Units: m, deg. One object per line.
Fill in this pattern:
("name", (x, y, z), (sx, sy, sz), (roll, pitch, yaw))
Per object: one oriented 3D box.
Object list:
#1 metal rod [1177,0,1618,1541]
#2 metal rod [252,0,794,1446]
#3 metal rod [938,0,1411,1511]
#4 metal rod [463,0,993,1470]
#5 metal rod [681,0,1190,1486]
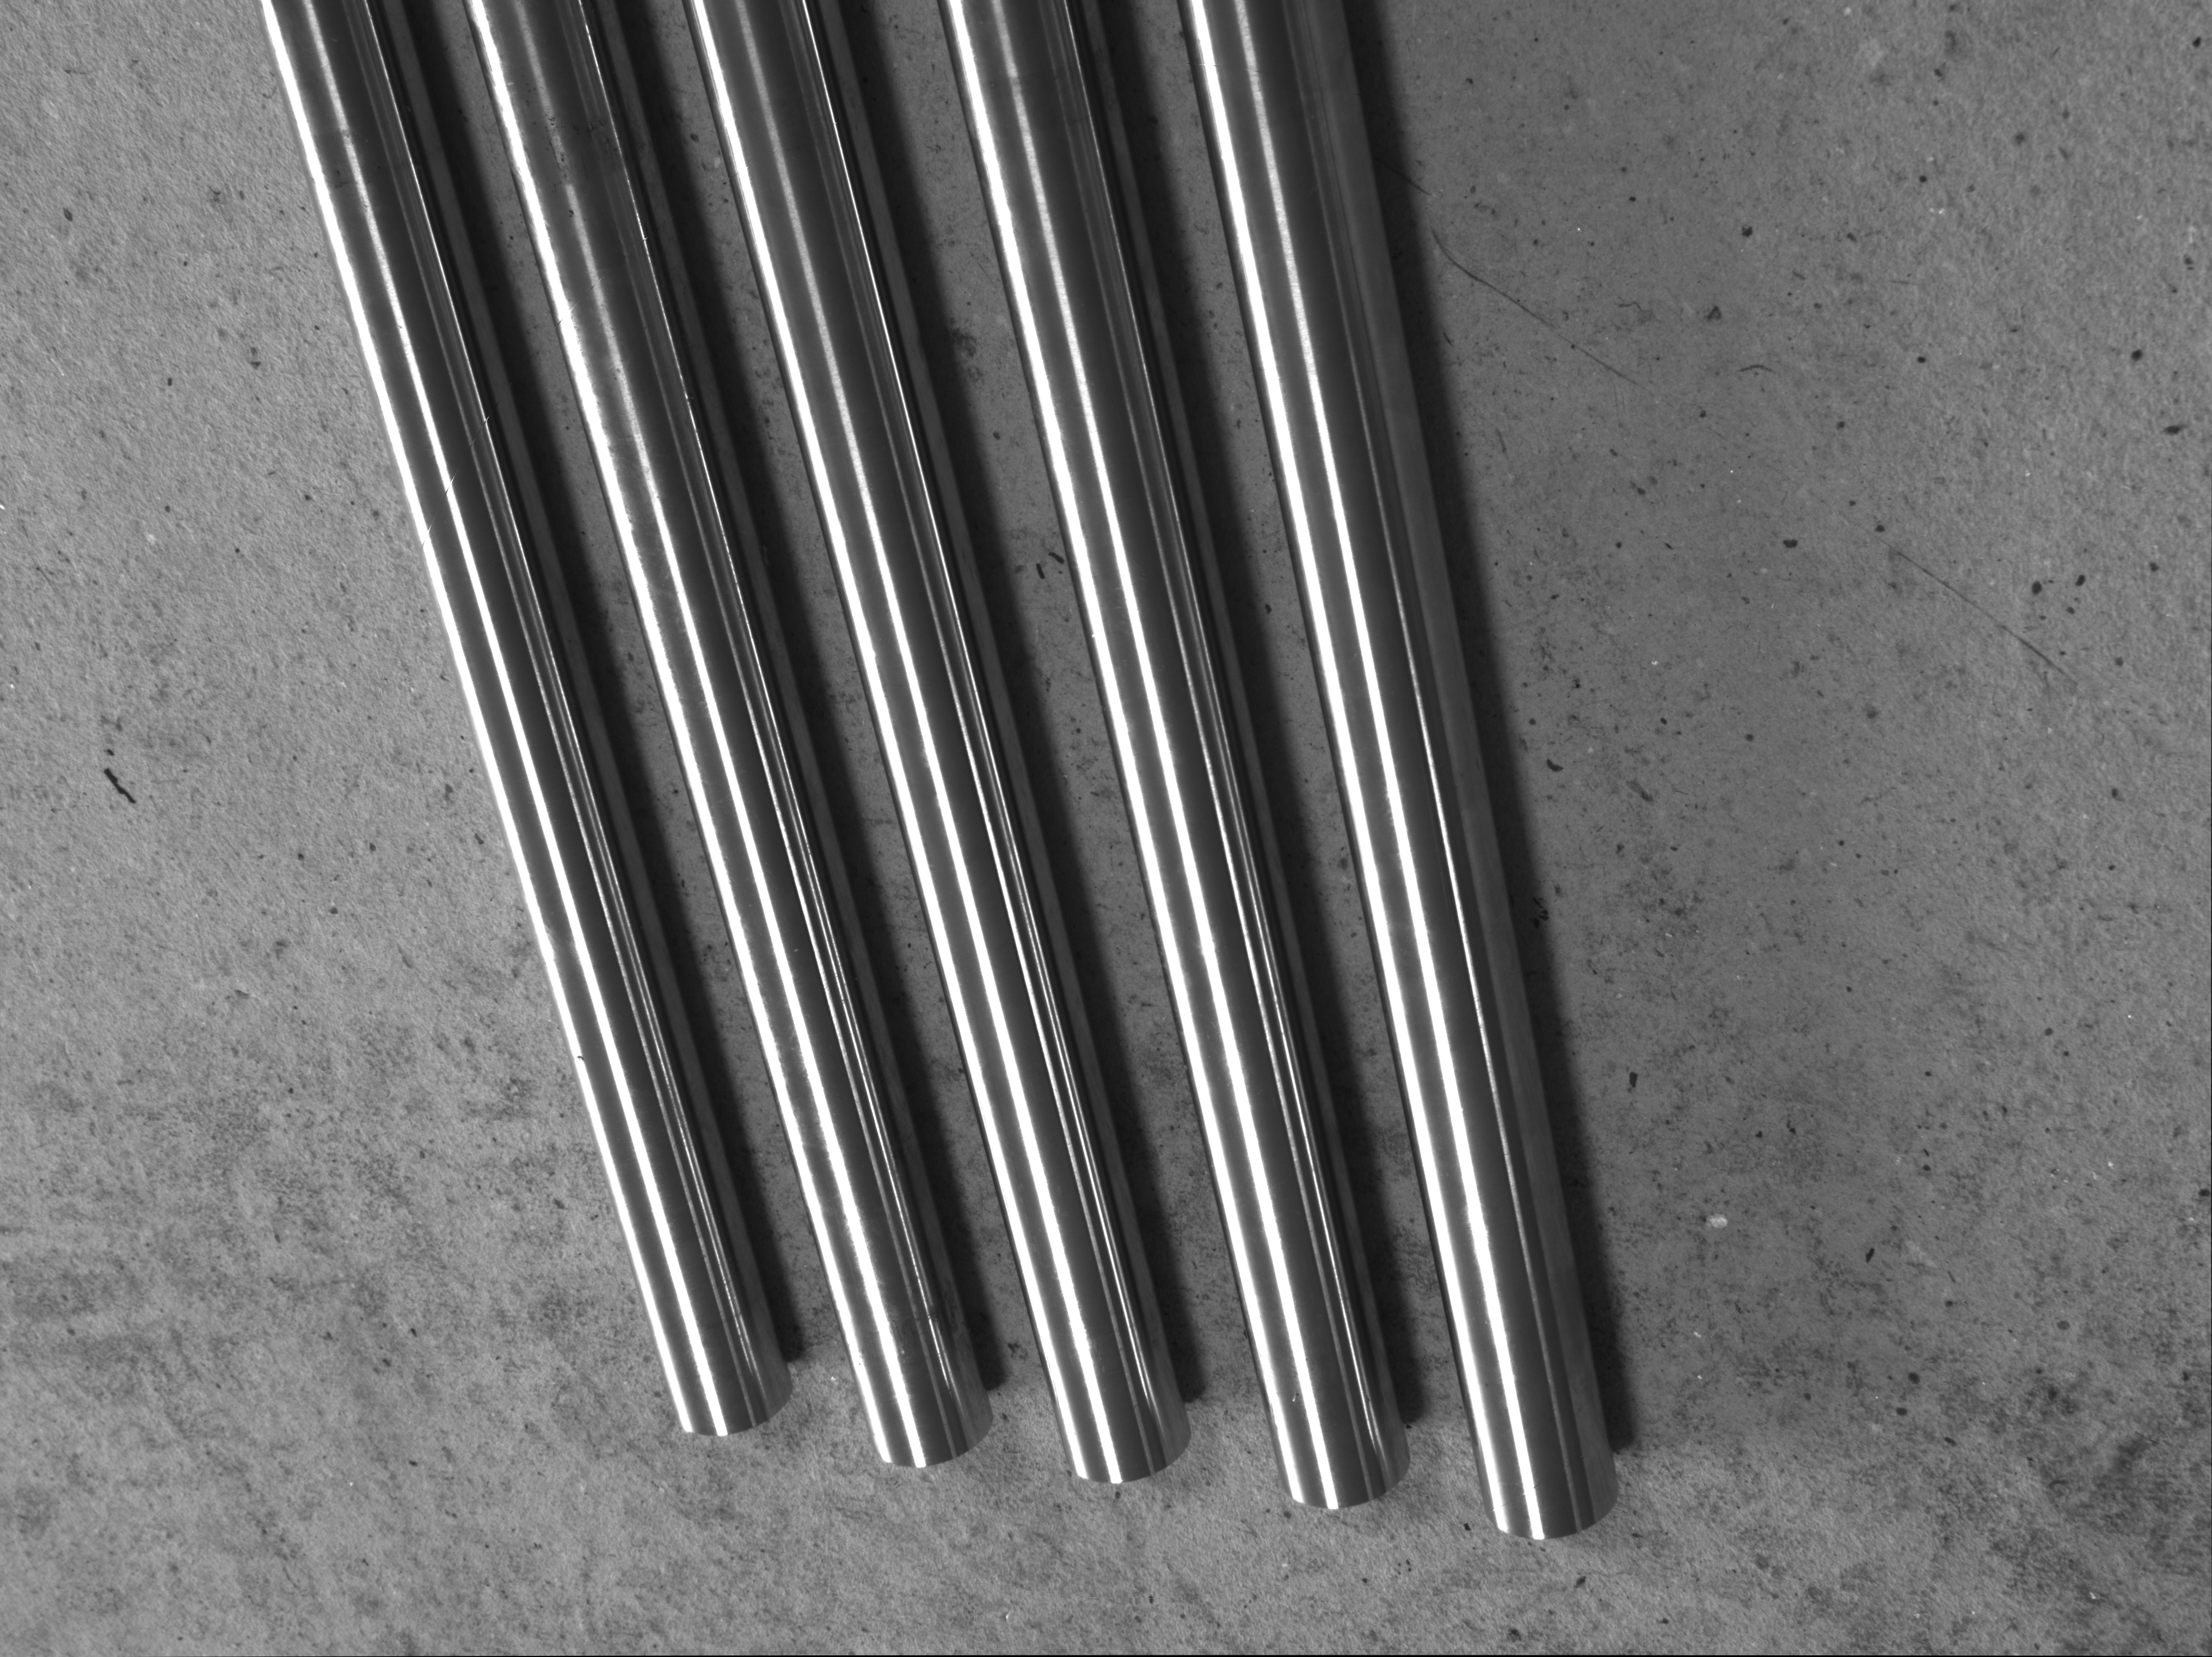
("metal rod", (0.050, -0.009, 0.610), (0.025, 0.025, 0.300), (1, 119, 28))
("metal rod", (-0.105, -0.013, 0.689), (0.025, 0.025, 0.300), (2, 119, 27))
("metal rod", (0.014, -0.011, 0.628), (0.025, 0.025, 0.300), (1, 119, 28))
("metal rod", (-0.065, -0.011, 0.670), (0.025, 0.025, 0.300), (1, 119, 28))
("metal rod", (-0.027, -0.012, 0.649), (0.025, 0.025, 0.300), (1, 119, 28))
